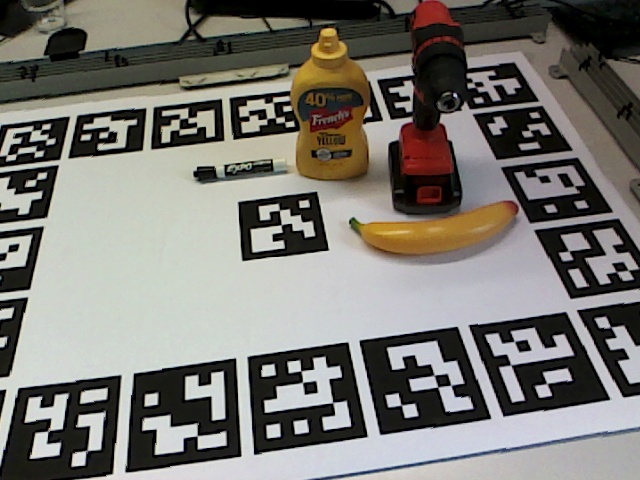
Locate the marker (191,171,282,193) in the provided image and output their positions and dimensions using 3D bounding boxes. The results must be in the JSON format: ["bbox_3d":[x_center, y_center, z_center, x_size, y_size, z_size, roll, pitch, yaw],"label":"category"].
[{"bbox_3d":[-0.112,-0.078,0.832,0.121,0.019,0.020,-6,50,-1],"label":"marker"}]

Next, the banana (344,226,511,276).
[{"bbox_3d":[0.128,0.009,0.729,0.197,0.039,0.074,-3,50,4],"label":"banana"}]

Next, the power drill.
[{"bbox_3d":[0.122,-0.121,0.716,0.057,0.186,0.185,4,47,5],"label":"power drill"}]

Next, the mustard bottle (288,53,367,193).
[{"bbox_3d":[0.010,-0.144,0.767,0.096,0.191,0.058,2,49,4],"label":"mustard bottle"}]
